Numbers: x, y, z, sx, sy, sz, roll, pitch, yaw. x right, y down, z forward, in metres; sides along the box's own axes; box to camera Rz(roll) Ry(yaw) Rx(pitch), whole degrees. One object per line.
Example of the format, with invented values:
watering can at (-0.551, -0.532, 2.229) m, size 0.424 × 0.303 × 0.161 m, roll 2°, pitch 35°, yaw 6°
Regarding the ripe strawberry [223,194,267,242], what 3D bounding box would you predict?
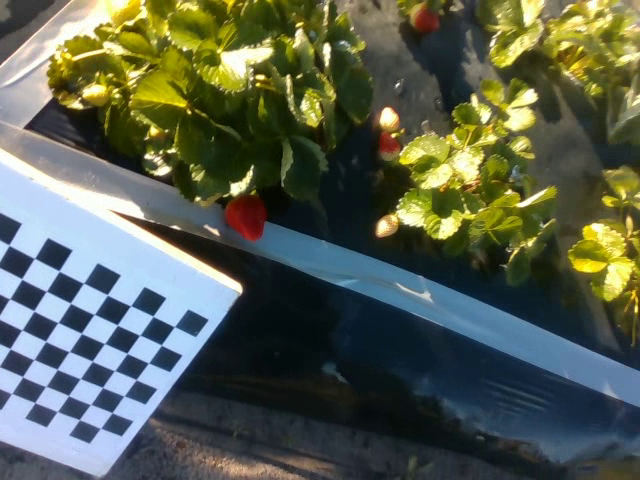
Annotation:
ripe strawberry at (-0.072, -0.023, 0.630) m, size 0.045 × 0.064 × 0.049 m, roll -29°, pitch -36°, yaw 6°
